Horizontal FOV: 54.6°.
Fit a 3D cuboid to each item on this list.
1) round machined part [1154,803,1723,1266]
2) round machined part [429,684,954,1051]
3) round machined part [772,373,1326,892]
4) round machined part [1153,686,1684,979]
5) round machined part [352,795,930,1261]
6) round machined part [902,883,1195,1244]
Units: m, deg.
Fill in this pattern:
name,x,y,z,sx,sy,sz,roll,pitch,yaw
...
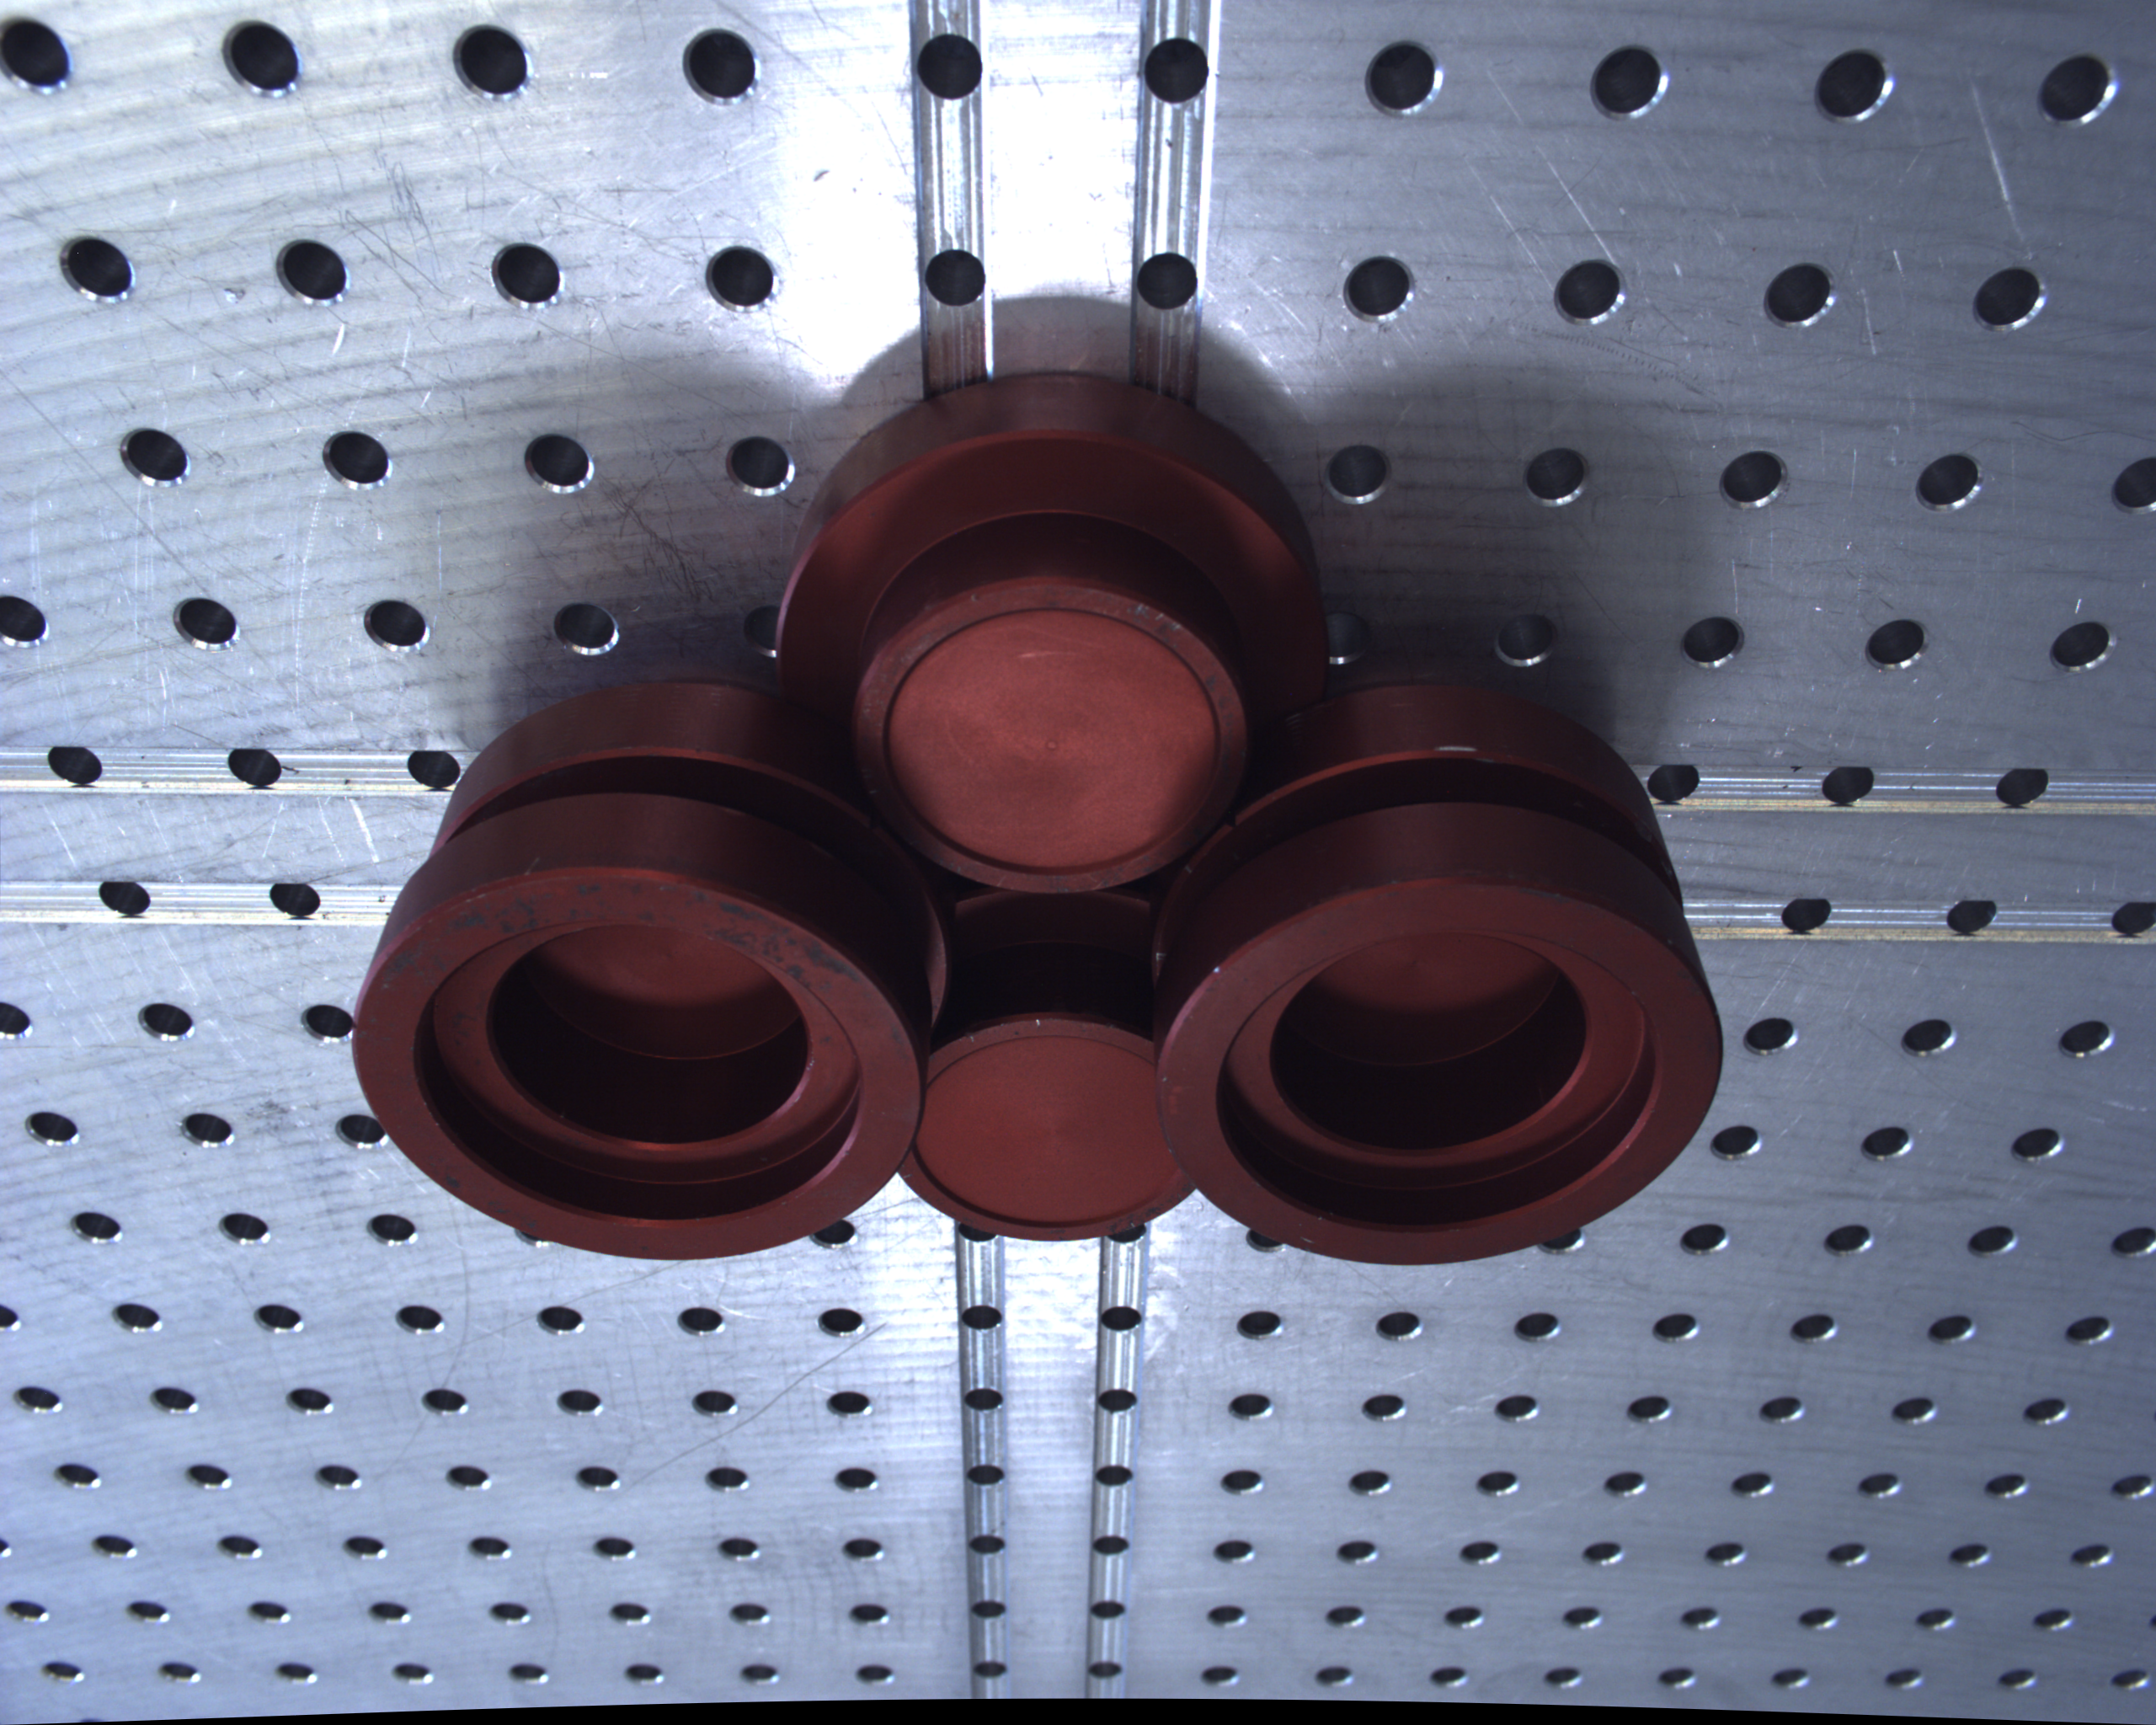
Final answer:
name,x,y,z,sx,sy,sz,roll,pitch,yaw
round machined part,0.063,0.027,0.381,0.099,0.042,0.097,0,130,0
round machined part,-0.073,0.005,0.403,0.099,0.042,0.097,0,130,0
round machined part,-0.005,-0.033,0.371,0.099,0.042,0.097,0,130,0
round machined part,0.063,0.005,0.404,0.099,0.042,0.097,0,130,0
round machined part,-0.076,0.025,0.378,0.099,0.042,0.097,0,130,0
round machined part,-0.005,0.042,0.435,0.099,0.042,0.097,0,130,0
